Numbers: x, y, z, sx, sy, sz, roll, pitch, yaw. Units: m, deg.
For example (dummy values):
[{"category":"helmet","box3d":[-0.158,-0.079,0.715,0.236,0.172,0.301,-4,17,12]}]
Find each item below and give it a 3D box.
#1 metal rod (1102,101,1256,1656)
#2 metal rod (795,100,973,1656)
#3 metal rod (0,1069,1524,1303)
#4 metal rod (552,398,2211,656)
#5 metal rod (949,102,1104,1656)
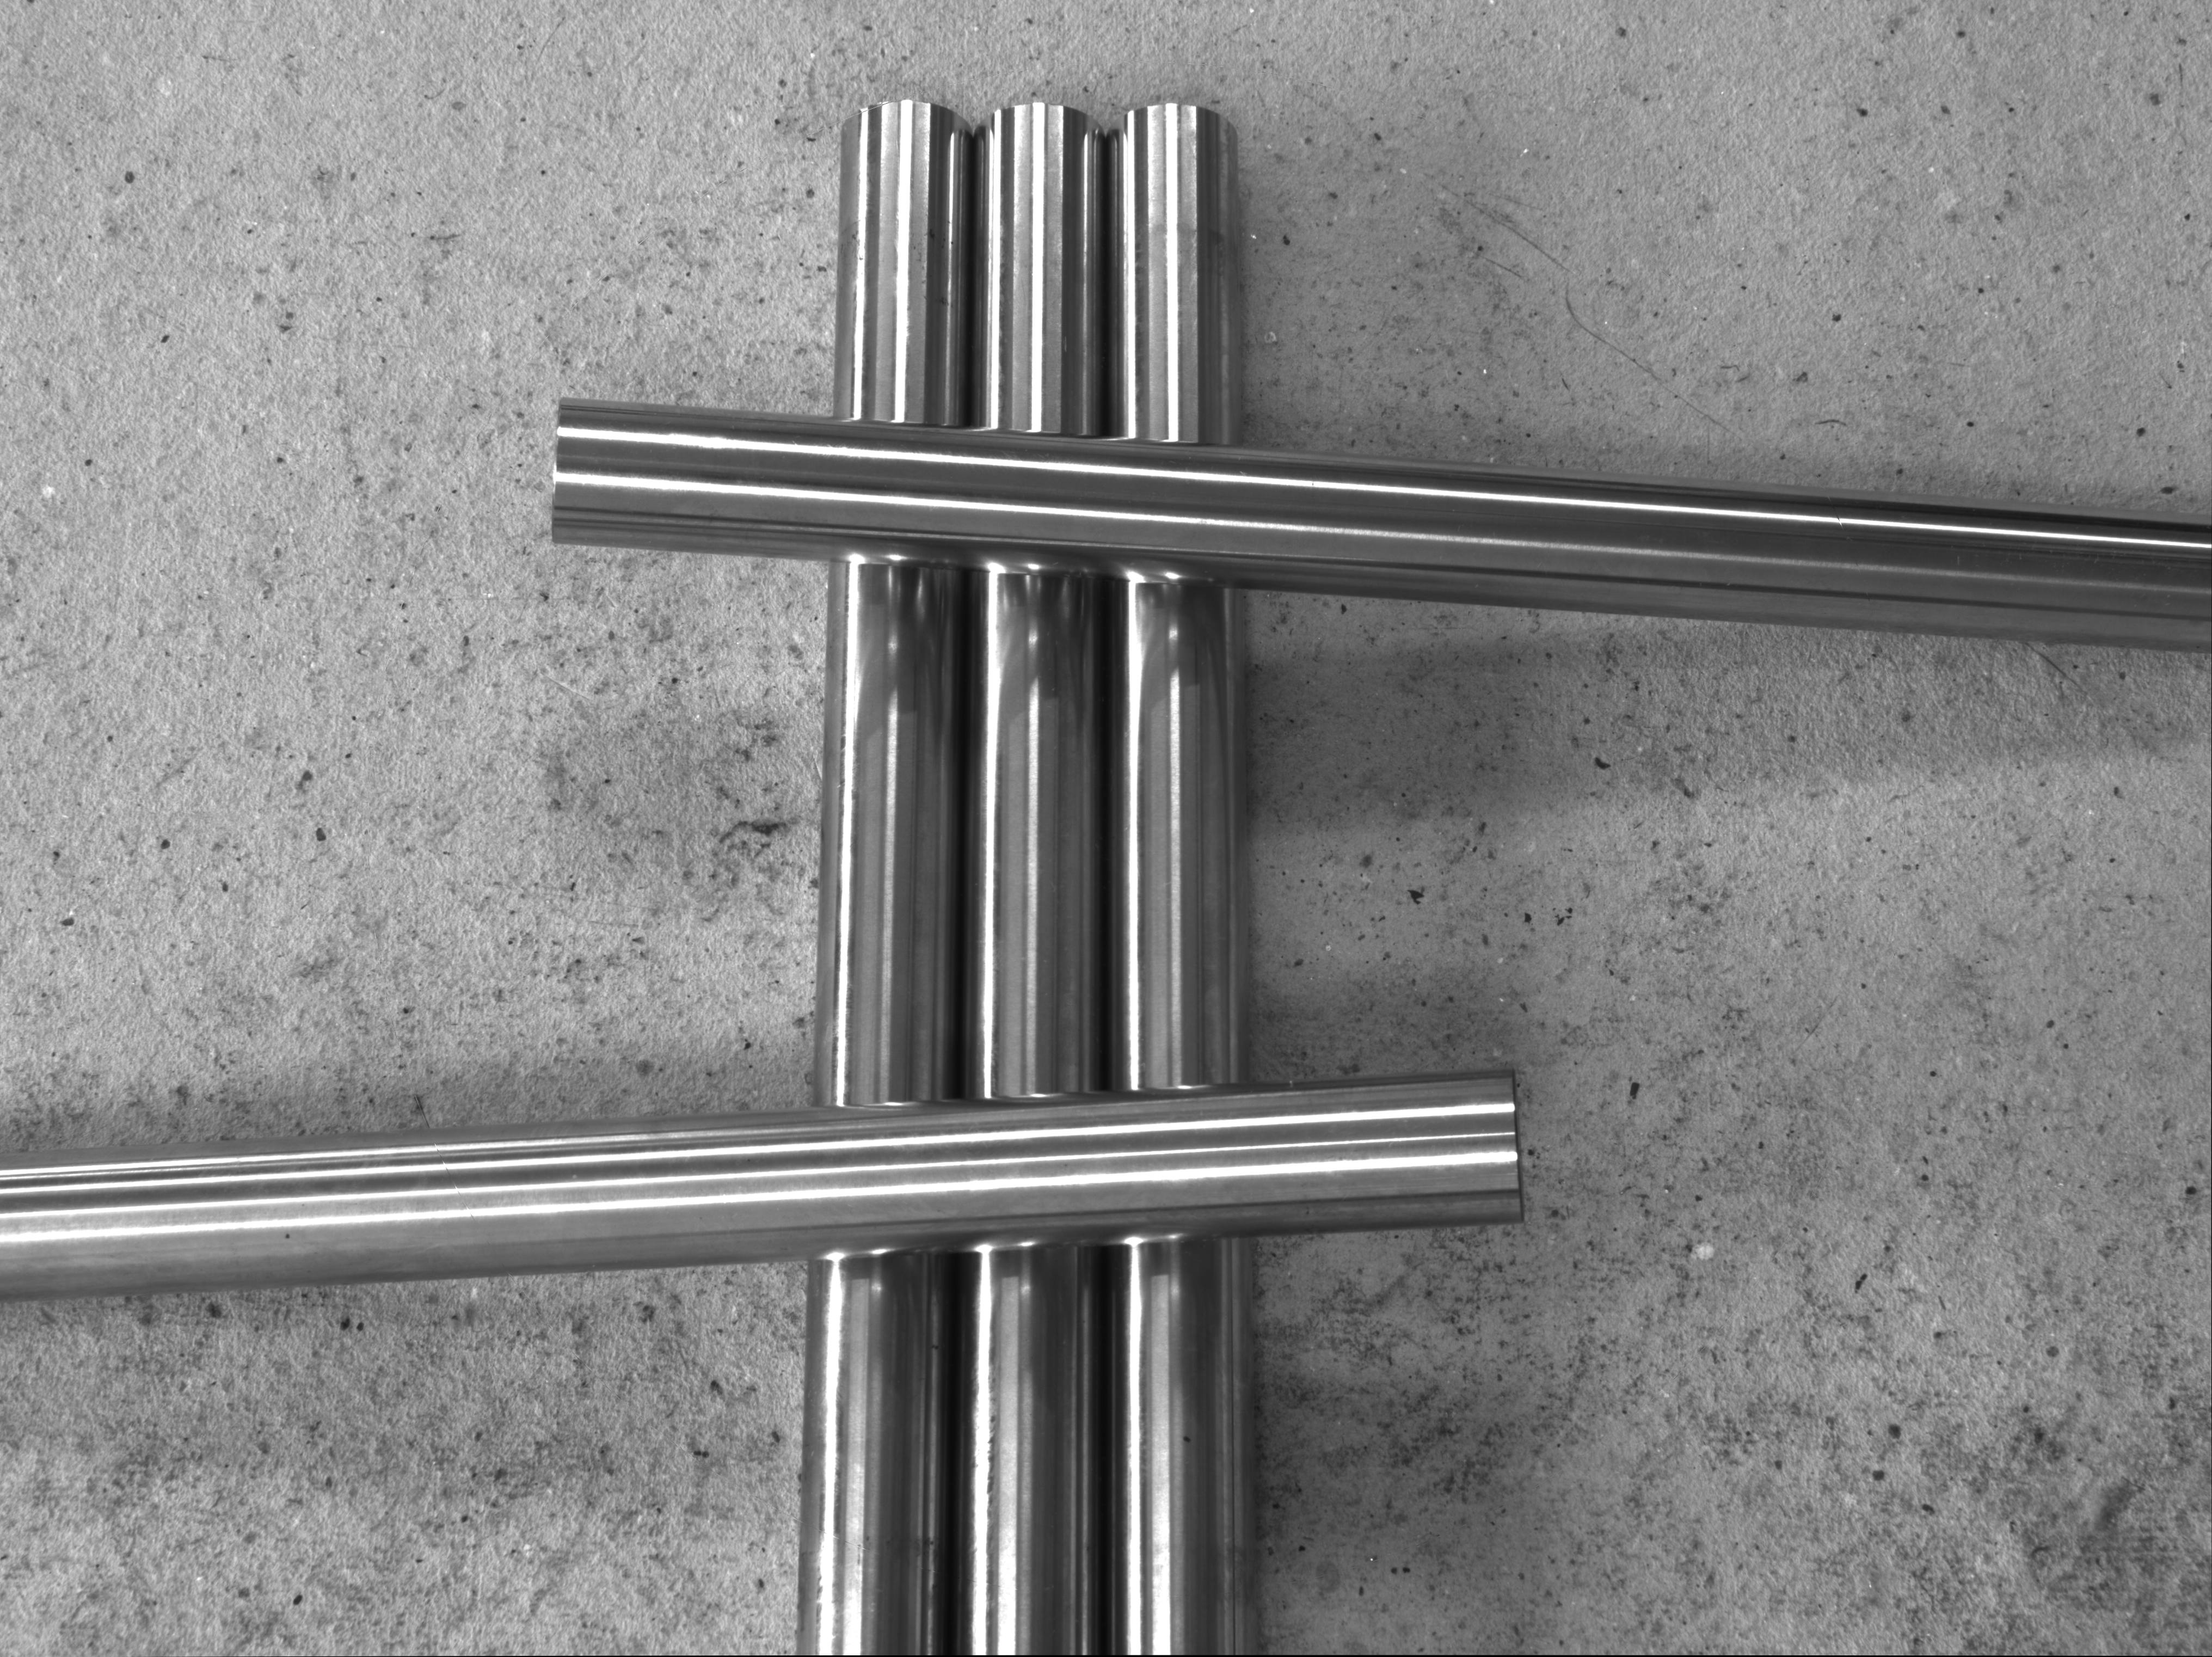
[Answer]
[{"category":"metal rod","box3d":[0.012,0.010,0.641,0.025,0.025,0.300,0,70,0]},{"category":"metal rod","box3d":[-0.038,0.010,0.641,0.025,0.025,0.300,0,70,0]},{"category":"metal rod","box3d":[-0.083,0.060,0.602,0.300,0.025,0.025,-4,70,6]},{"category":"metal rod","box3d":[0.055,-0.052,0.643,0.300,0.025,0.025,3,70,-7]},{"category":"metal rod","box3d":[-0.013,0.010,0.640,0.025,0.025,0.300,0,70,0]}]
